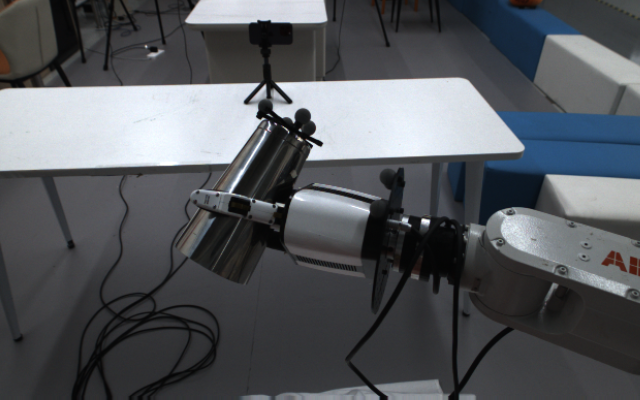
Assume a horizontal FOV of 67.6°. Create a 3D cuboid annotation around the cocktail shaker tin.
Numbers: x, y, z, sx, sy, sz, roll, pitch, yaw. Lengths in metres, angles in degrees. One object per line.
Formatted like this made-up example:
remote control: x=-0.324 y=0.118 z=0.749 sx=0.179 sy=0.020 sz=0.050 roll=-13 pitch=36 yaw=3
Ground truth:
cocktail shaker tin: x=-0.080 y=-0.004 z=0.551 sx=0.093 sy=0.093 sz=0.170 roll=26 pitch=83 yaw=31
